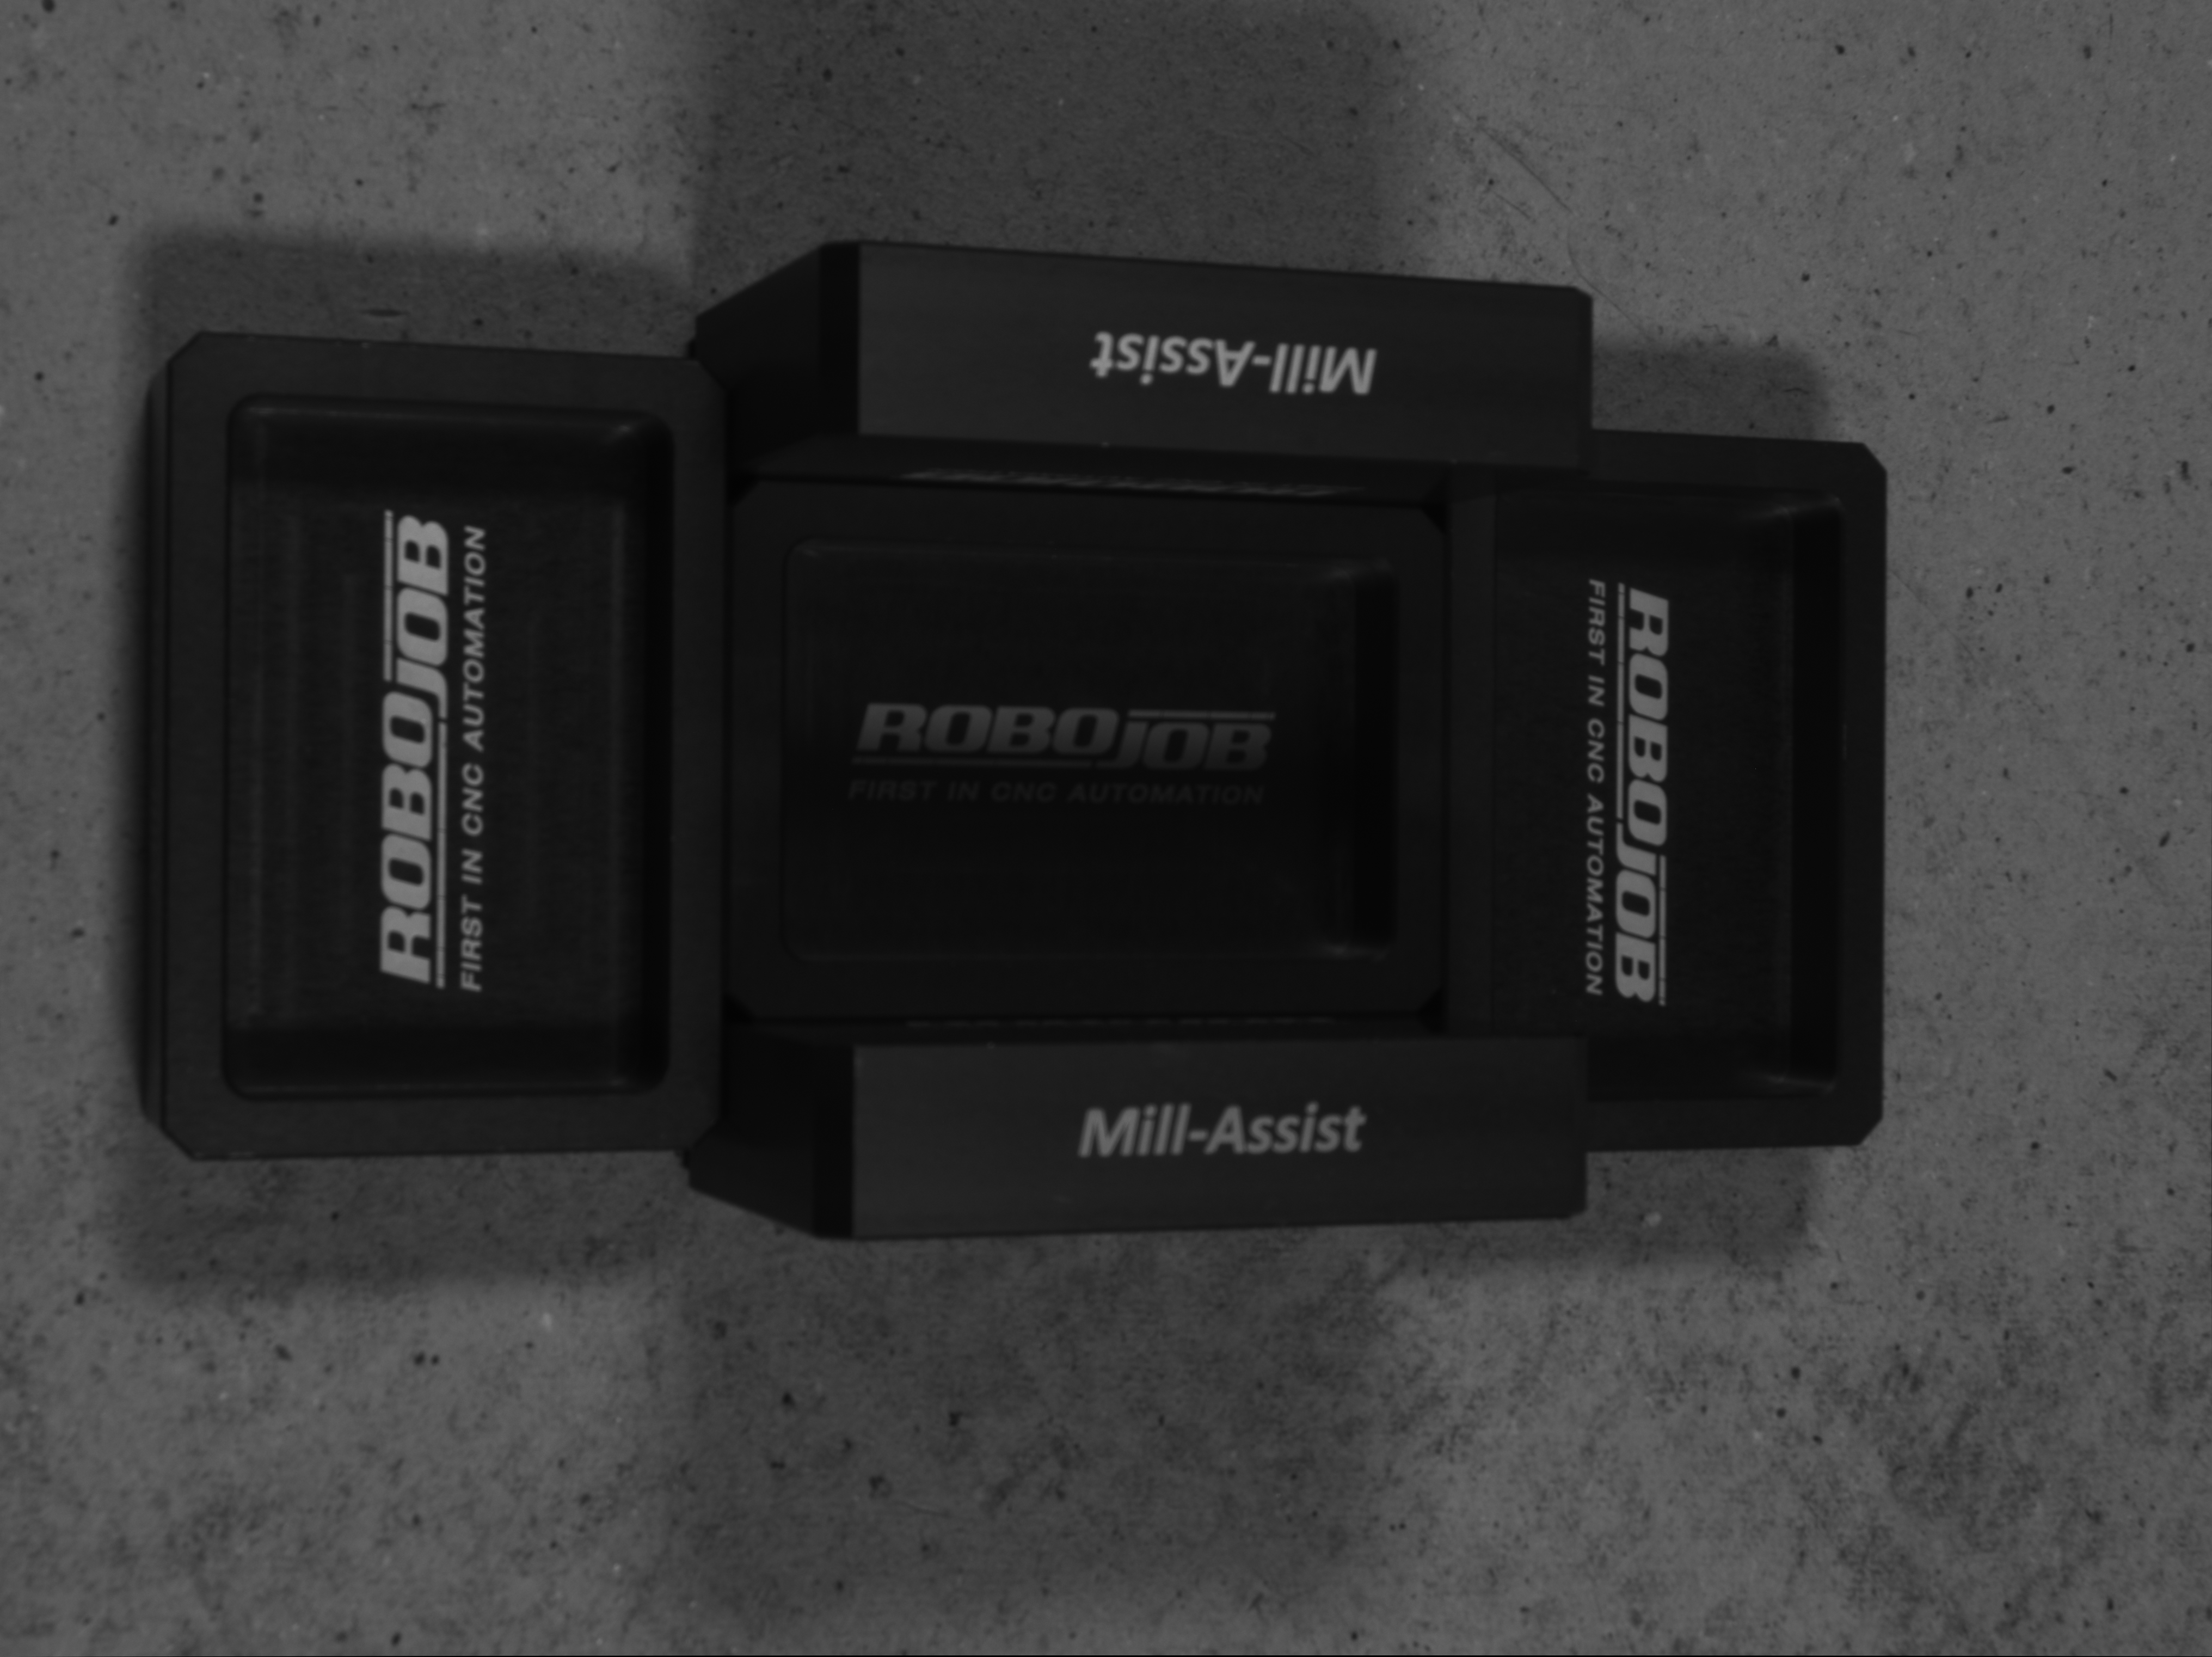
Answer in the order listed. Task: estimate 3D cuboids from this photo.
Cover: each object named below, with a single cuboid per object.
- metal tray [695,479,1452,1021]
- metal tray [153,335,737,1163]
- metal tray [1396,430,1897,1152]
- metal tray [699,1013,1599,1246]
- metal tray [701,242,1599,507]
[{"bbox_3d":[-0.005,-0.012,0.639,0.130,0.030,0.090,1,90,-20],"label":"metal tray"},{"bbox_3d":[-0.108,-0.012,0.601,0.090,0.030,0.130,1,90,-20],"label":"metal tray"},{"bbox_3d":[0.099,-0.006,0.677,0.090,0.030,0.130,1,90,-20],"label":"metal tray"},{"bbox_3d":[0.005,0.048,0.609,0.130,0.090,0.030,0,90,-20],"label":"metal tray"},{"bbox_3d":[0.005,-0.073,0.611,0.130,0.090,0.030,0,90,-20],"label":"metal tray"}]
